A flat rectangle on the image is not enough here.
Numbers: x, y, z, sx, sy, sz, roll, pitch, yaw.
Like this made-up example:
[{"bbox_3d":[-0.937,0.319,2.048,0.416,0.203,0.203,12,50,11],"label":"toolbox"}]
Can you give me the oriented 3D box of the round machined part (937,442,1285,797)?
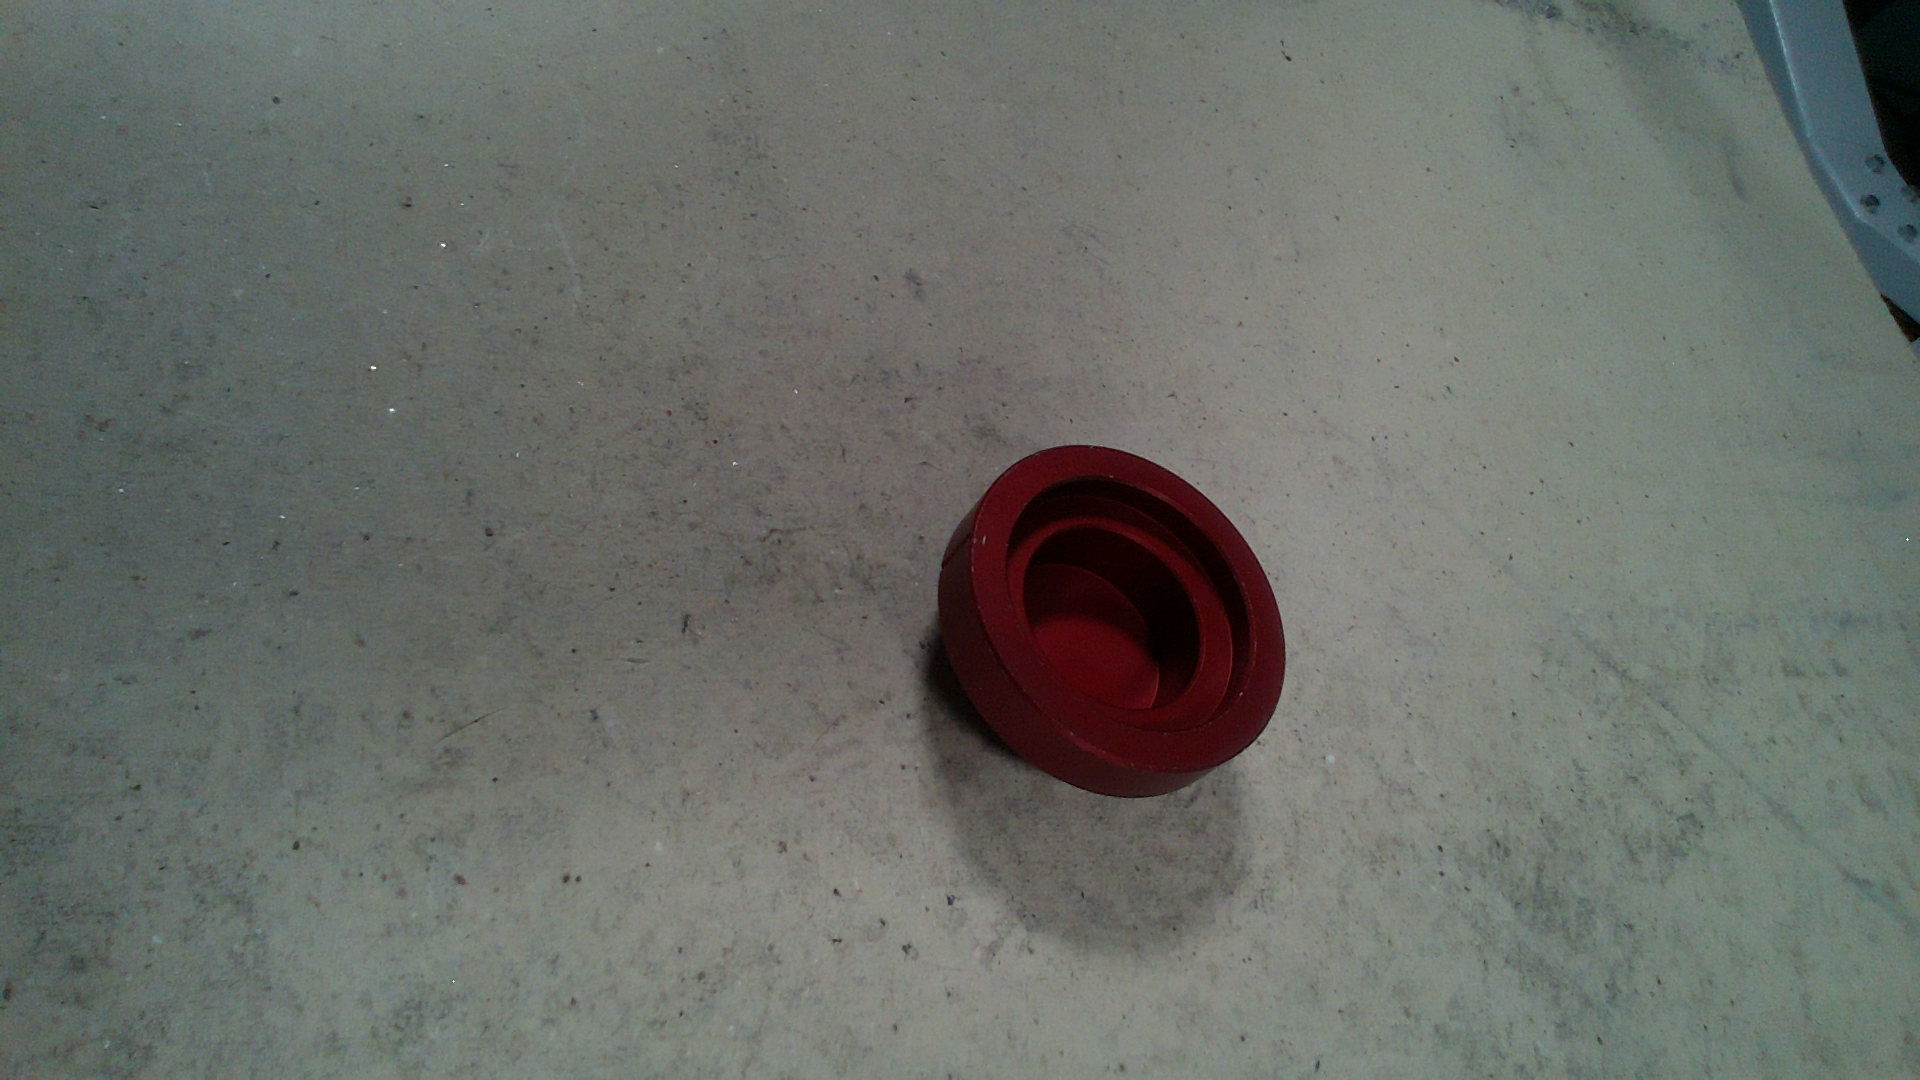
[{"bbox_3d":[0.038,0.025,0.384,0.098,0.042,0.098,14,56,-21],"label":"round machined part"}]
